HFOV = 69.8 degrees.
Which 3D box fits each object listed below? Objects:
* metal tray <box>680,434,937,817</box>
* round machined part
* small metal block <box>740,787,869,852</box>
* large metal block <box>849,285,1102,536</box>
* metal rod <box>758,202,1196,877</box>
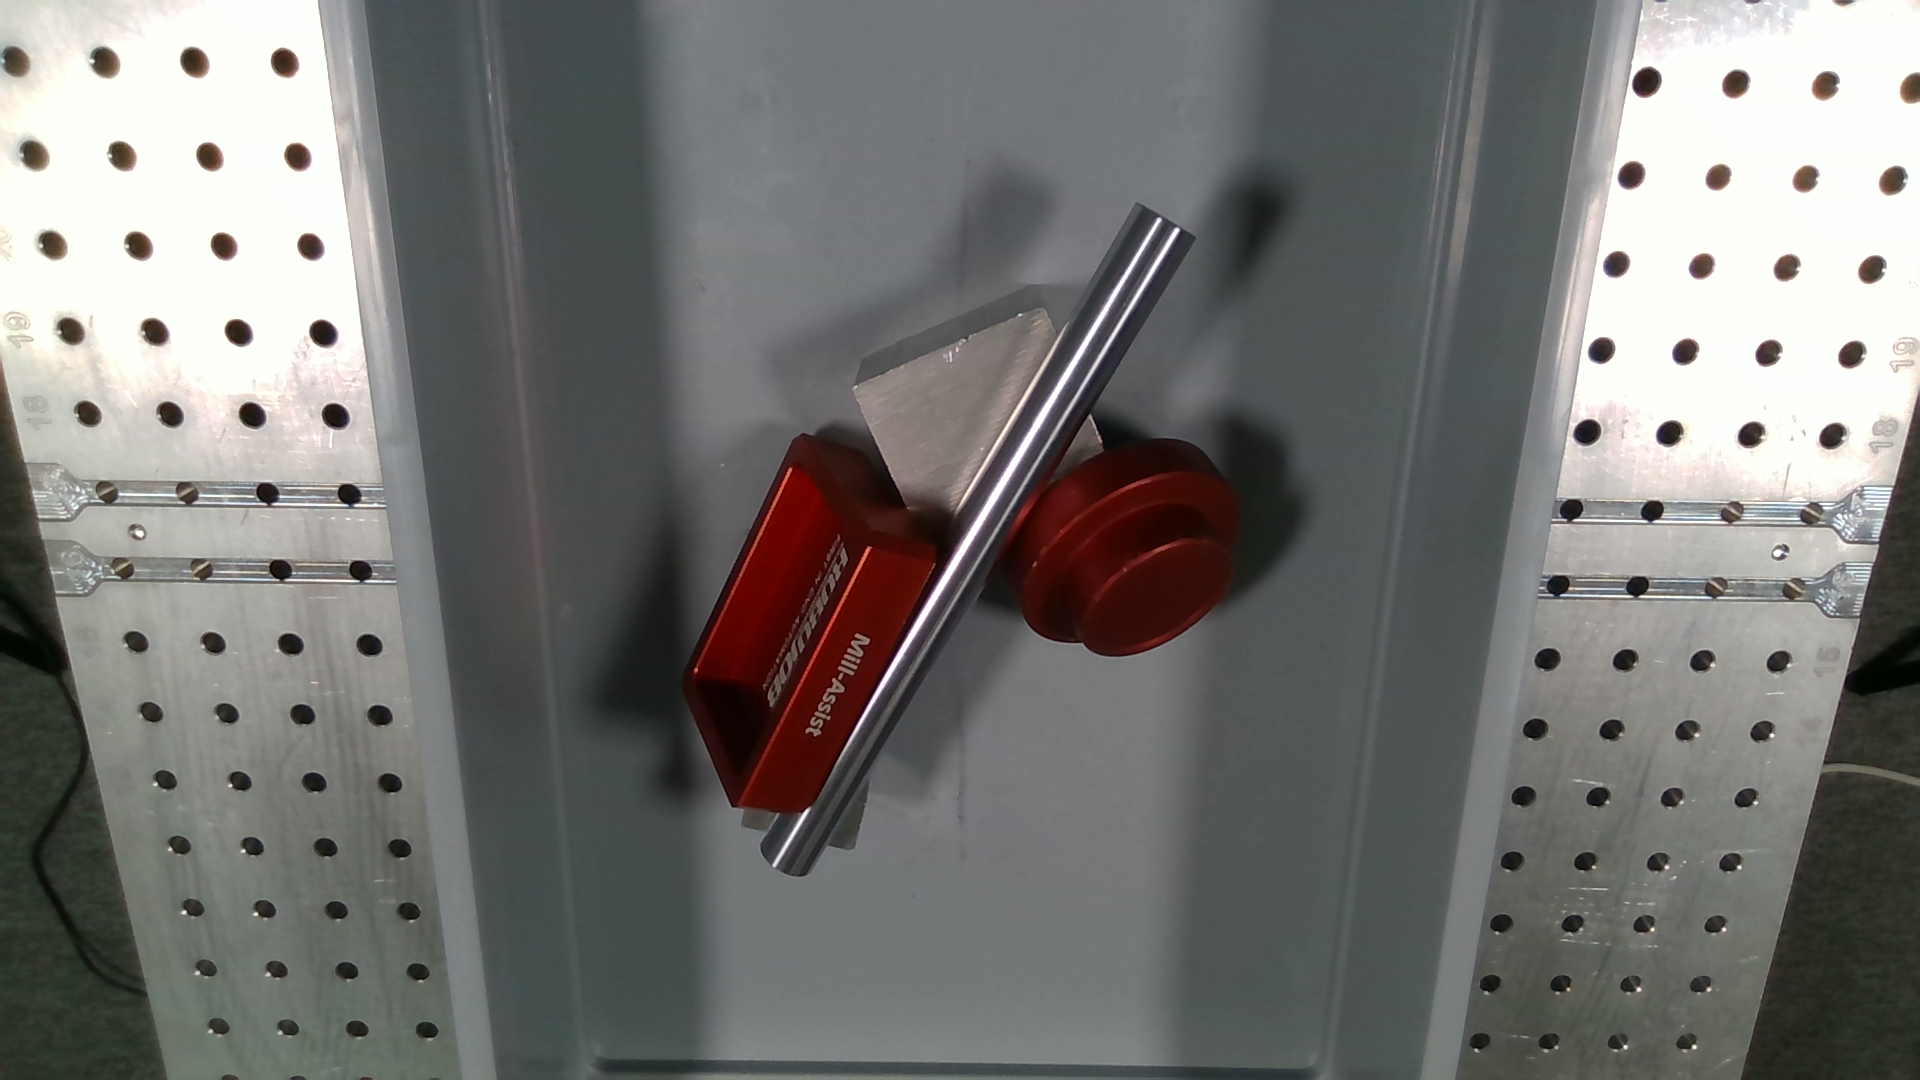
[{"bbox_3d":[-0.065,0.034,0.558,0.030,0.090,0.130,15,113,-35],"label":"metal tray"},{"bbox_3d":[0.069,0.010,0.550,0.098,0.042,0.098,-19,144,-15],"label":"round machined part"},{"bbox_3d":[-0.067,0.109,0.610,0.050,0.050,0.025,14,110,-5],"label":"small metal block"},{"bbox_3d":[0.010,-0.047,0.552,0.080,0.050,0.080,-21,109,8],"label":"large metal block"},{"bbox_3d":[0.000,0.010,0.533,0.025,0.025,0.300,28,108,-10],"label":"metal rod"}]
